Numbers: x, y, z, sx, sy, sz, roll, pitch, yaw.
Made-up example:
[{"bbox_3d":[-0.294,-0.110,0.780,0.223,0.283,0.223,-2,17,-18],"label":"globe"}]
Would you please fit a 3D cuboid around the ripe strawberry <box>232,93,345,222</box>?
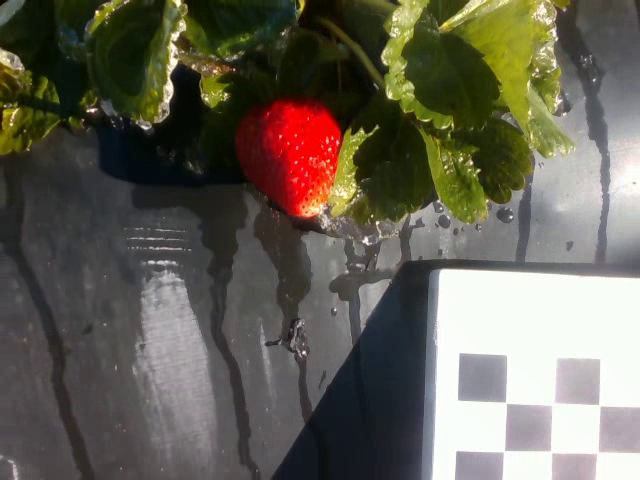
[{"bbox_3d":[-0.009,-0.026,0.197,0.042,0.052,0.047,-3,-41,-4],"label":"ripe strawberry"}]
